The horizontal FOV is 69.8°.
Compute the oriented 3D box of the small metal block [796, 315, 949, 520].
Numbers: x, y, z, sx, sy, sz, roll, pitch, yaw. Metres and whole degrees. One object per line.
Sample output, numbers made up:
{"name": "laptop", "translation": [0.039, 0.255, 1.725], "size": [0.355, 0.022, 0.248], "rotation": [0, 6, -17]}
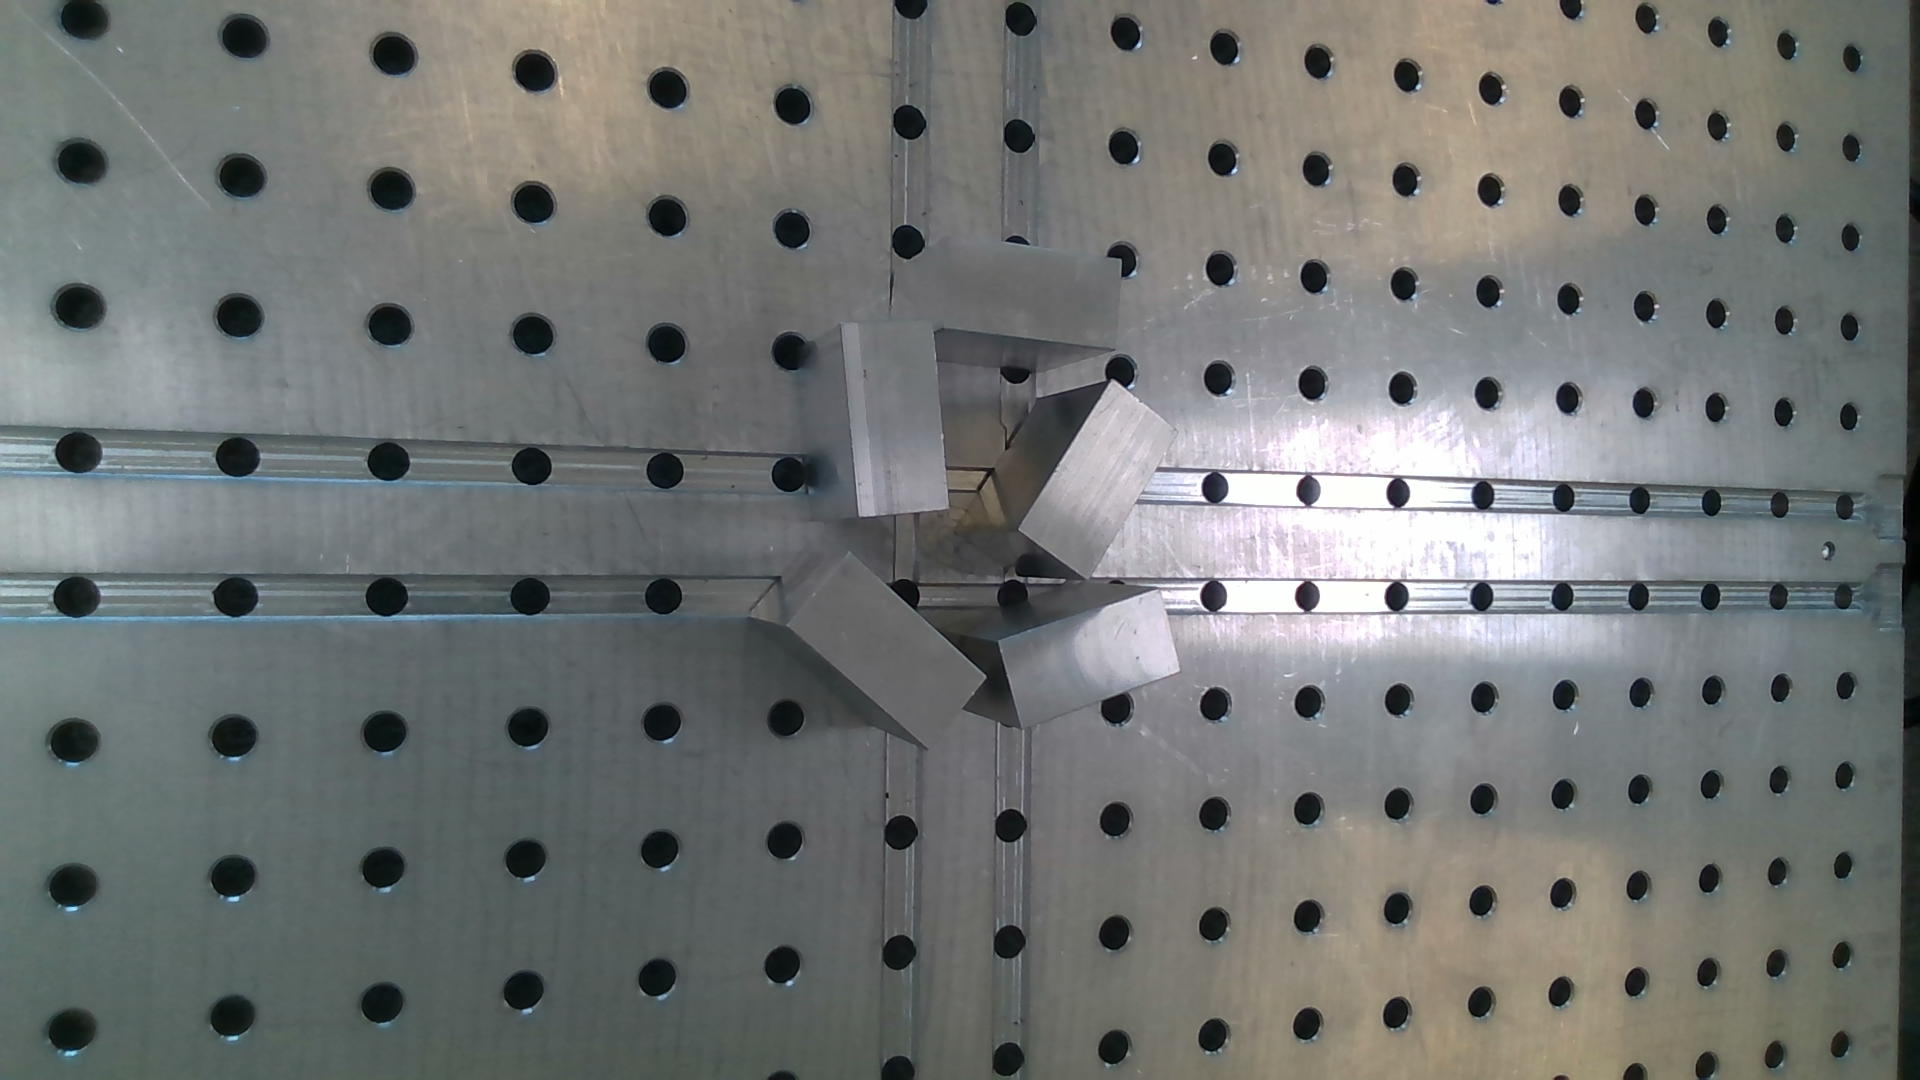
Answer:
{"name": "small metal block", "translation": [-0.025, -0.032, 0.373], "size": [0.025, 0.050, 0.050], "rotation": [-6, 92, -20]}

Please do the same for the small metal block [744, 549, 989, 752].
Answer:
{"name": "small metal block", "translation": [-0.027, 0.029, 0.373], "size": [0.050, 0.050, 0.025], "rotation": [44, 75, -15]}

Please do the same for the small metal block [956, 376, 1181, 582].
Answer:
{"name": "small metal block", "translation": [0.030, -0.016, 0.394], "size": [0.025, 0.050, 0.050], "rotation": [35, 79, -16]}

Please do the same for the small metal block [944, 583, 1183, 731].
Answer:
{"name": "small metal block", "translation": [0.027, 0.032, 0.392], "size": [0.050, 0.050, 0.025], "rotation": [-17, 96, -20]}

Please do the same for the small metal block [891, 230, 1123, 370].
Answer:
{"name": "small metal block", "translation": [0.011, -0.066, 0.387], "size": [0.050, 0.050, 0.025], "rotation": [4, 88, -20]}
